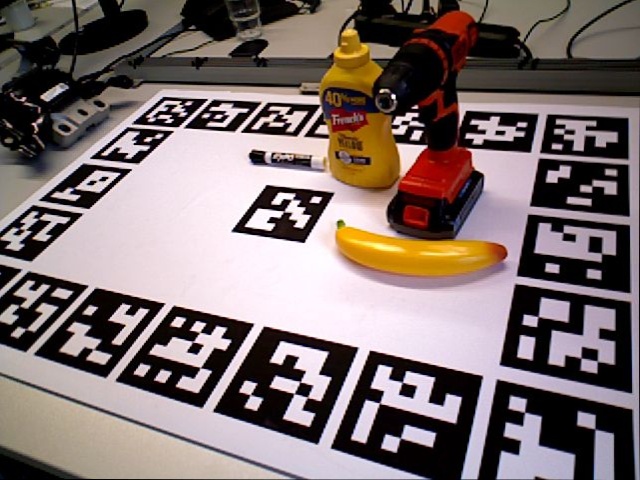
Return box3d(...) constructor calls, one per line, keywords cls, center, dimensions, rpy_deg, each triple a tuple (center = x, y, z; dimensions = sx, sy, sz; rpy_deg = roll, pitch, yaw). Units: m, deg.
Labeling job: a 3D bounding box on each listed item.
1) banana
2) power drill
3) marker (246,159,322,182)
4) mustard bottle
box3d(cls="banana", center=(0.085, 0.035, 0.587), dimensions=(0.198, 0.039, 0.072), rpy_deg=(15, 50, 30))
box3d(cls="power drill", center=(0.114, -0.092, 0.572), dimensions=(0.057, 0.191, 0.180), rpy_deg=(23, 50, 30))
box3d(cls="marker", center=(-0.054, -0.100, 0.779), dimensions=(0.122, 0.020, 0.019), rpy_deg=(11, 48, 25))
box3d(cls="mustard bottle", center=(0.044, -0.139, 0.665), dimensions=(0.096, 0.195, 0.057), rpy_deg=(20, 50, 29))
